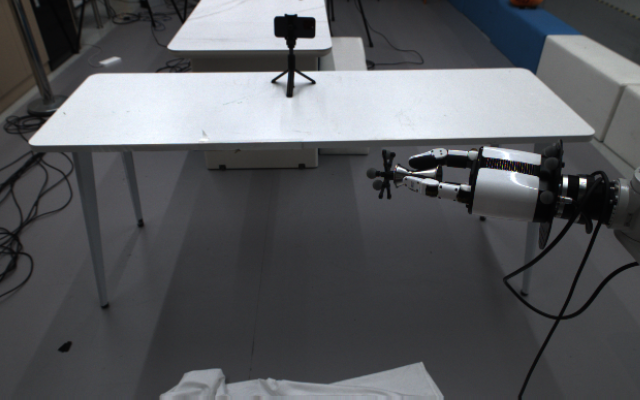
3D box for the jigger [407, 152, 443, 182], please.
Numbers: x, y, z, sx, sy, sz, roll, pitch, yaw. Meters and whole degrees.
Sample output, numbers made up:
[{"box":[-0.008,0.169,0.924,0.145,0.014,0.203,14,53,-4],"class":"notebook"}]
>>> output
[{"box":[0.161,-0.045,0.762,0.071,0.043,0.043,3,32,27],"class":"jigger"}]
